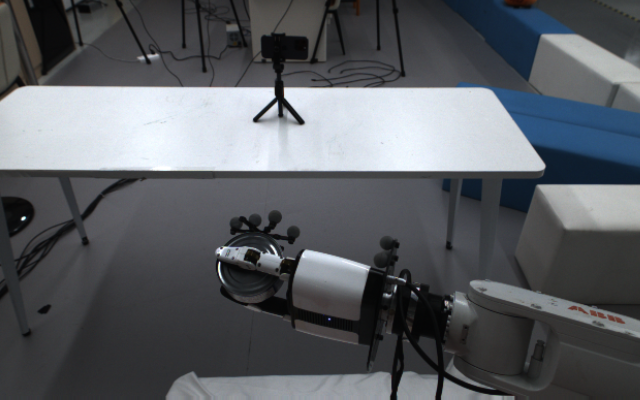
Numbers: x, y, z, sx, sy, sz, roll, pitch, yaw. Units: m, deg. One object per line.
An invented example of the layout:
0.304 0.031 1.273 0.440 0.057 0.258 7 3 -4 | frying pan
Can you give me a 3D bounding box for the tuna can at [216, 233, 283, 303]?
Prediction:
-0.086 0.085 0.613 0.085 0.034 0.085 -2 58 4 | tuna can
